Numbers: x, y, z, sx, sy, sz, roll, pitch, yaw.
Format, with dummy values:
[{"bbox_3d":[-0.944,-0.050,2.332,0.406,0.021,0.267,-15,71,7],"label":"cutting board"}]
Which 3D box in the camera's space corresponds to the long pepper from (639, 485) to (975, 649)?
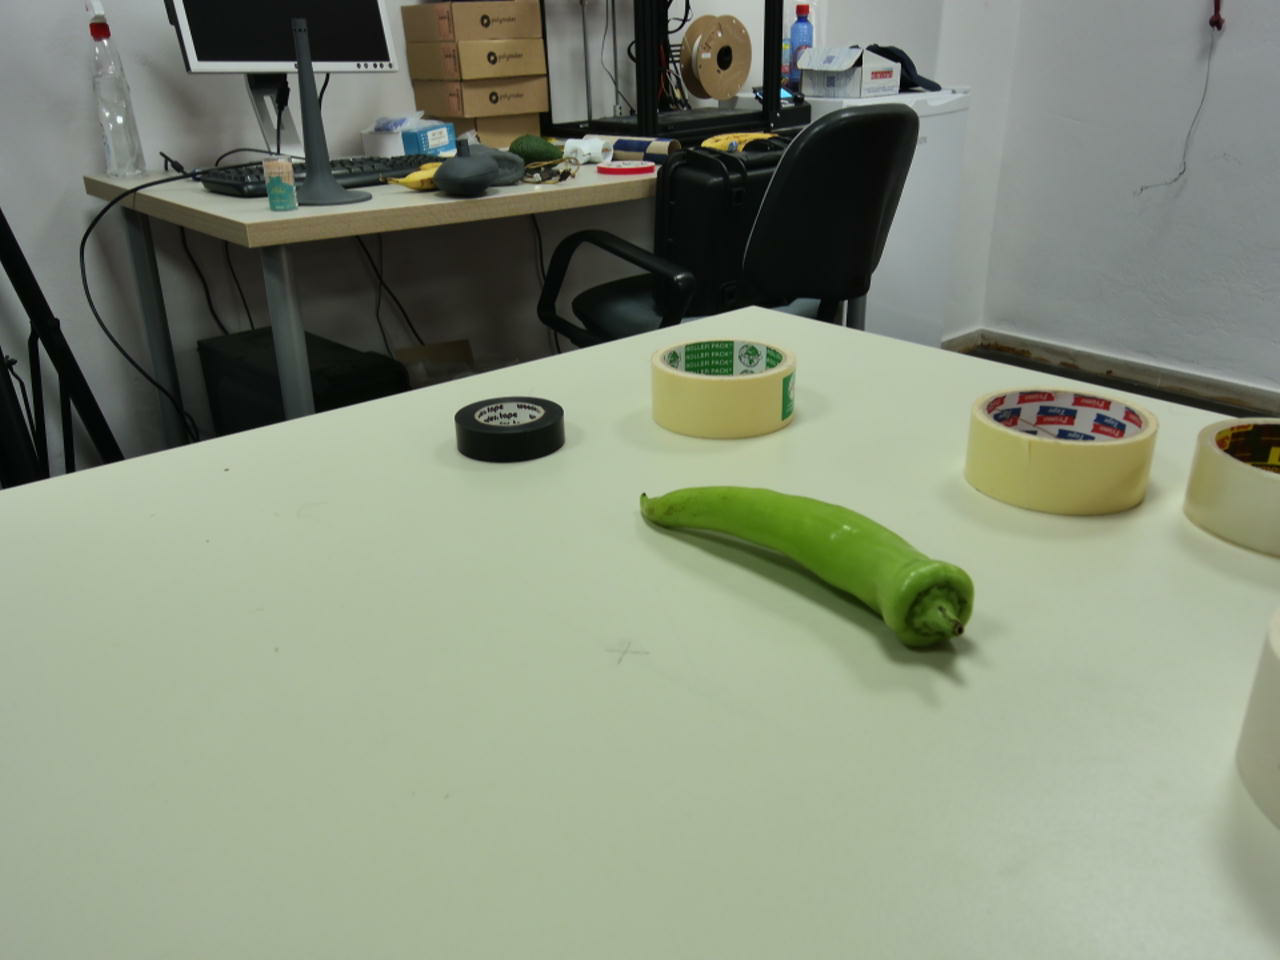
[{"bbox_3d":[0.070,0.025,0.448,0.046,0.038,0.197,-15,26,-34],"label":"long pepper"}]
